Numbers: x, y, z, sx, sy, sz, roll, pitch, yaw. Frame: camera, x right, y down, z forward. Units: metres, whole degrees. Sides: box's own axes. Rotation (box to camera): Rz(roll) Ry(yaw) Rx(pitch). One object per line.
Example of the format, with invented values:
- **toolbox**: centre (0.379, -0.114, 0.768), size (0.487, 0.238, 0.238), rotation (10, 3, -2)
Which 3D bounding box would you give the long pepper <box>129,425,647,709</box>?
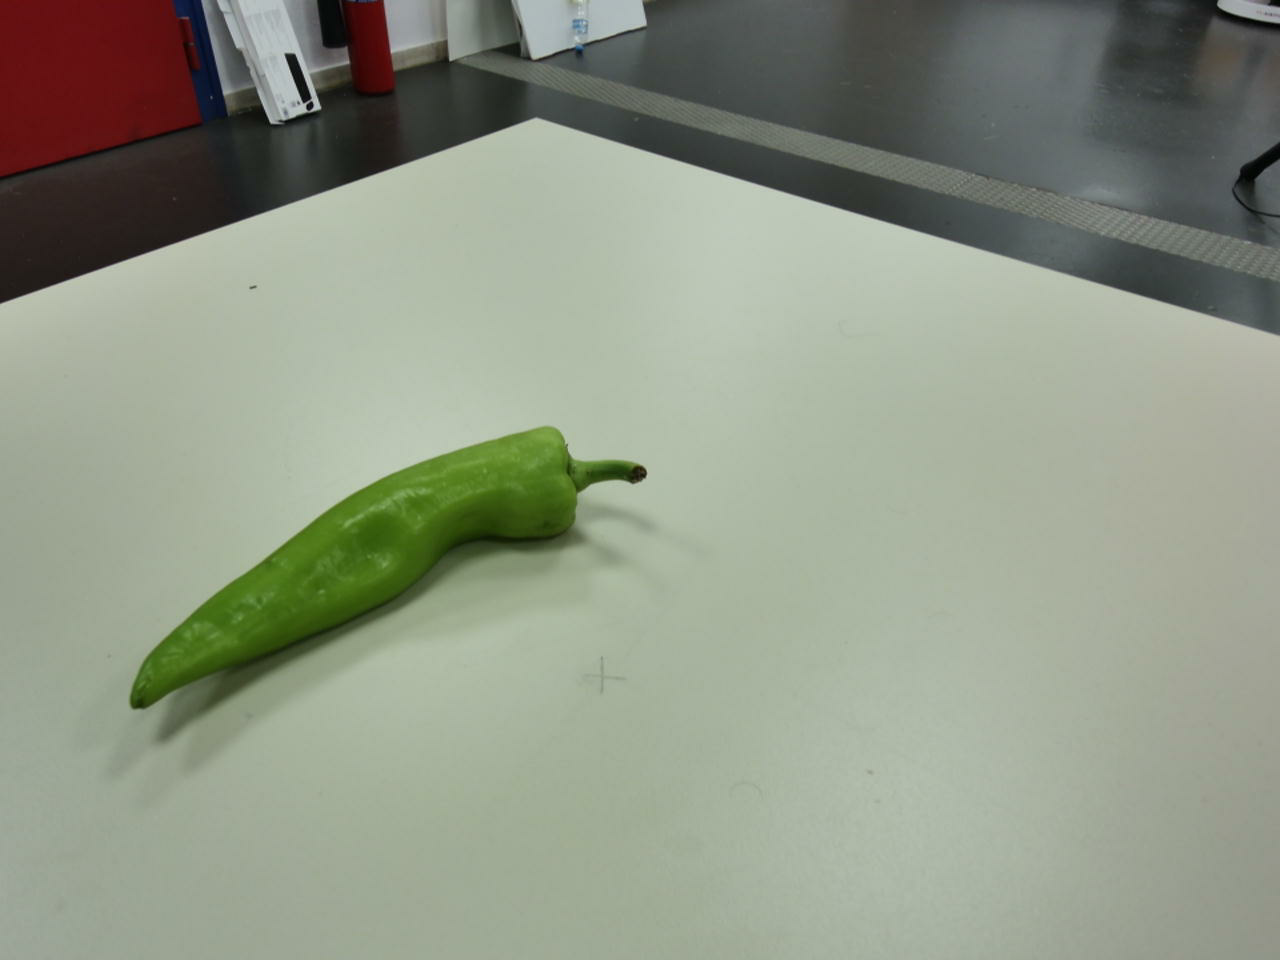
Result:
- **long pepper**: centre (-0.096, 0.024, 0.387), size (0.204, 0.045, 0.065), rotation (-22, 42, -29)
